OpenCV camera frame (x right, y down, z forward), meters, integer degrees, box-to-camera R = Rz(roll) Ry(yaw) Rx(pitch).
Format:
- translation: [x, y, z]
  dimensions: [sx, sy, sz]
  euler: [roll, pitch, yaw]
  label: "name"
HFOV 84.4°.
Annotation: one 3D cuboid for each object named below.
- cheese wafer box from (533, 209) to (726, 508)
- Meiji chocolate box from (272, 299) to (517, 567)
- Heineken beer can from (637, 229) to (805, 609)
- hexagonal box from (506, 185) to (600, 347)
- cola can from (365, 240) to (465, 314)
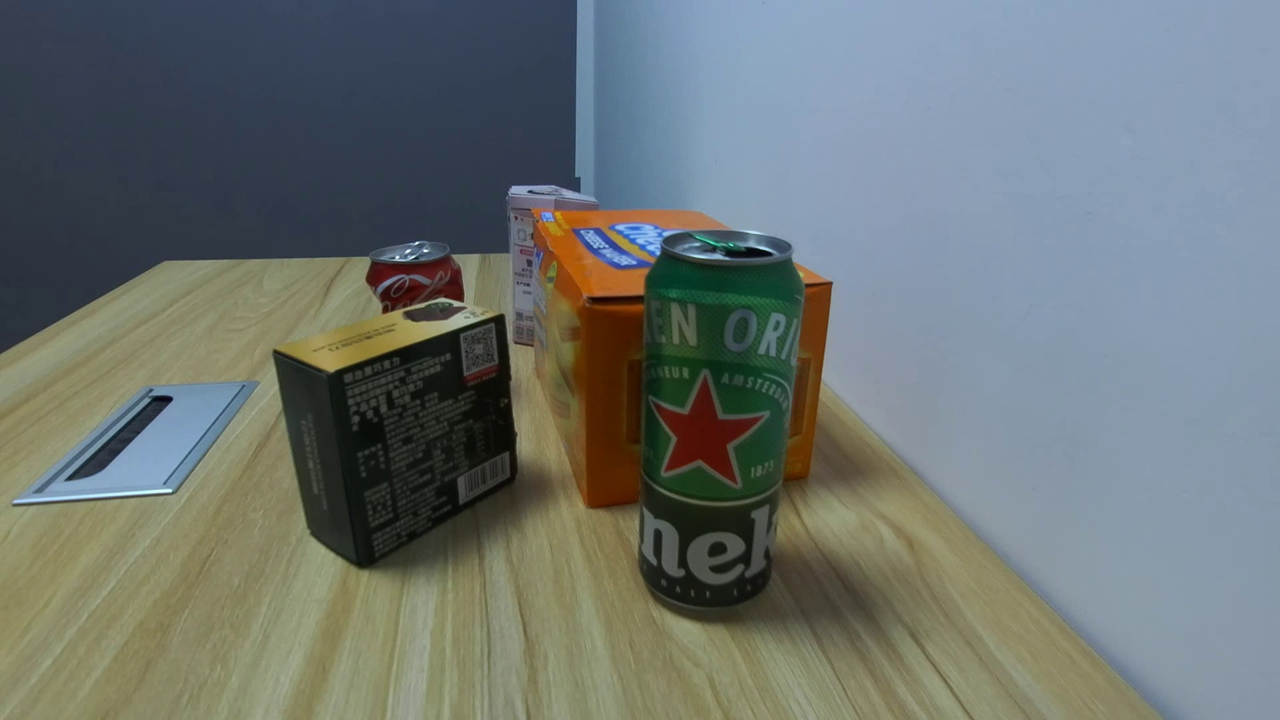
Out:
- translation: [0.012, -0.022, 0.505]
  dimensions: [0.150, 0.137, 0.226]
  euler: [-5, 25, -15]
  label: "cheese wafer box"
- translation: [-0.125, 0.034, 0.384]
  dimensions: [0.056, 0.109, 0.110]
  euler: [15, 26, 33]
  label: "Meiji chocolate box"
- translation: [0.040, 0.039, 0.344]
  dimensions: [0.067, 0.169, 0.067]
  euler: [5, 7, 0]
  label: "Heineken beer can"
- translation: [-0.077, -0.084, 0.636]
  dimensions: [0.092, 0.135, 0.085]
  euler: [11, 24, 22]
  label: "hexagonal box"
- translation: [-0.161, -0.027, 0.521]
  dimensions: [0.066, 0.117, 0.066]
  euler: [-10, 25, -22]
  label: "cola can"
